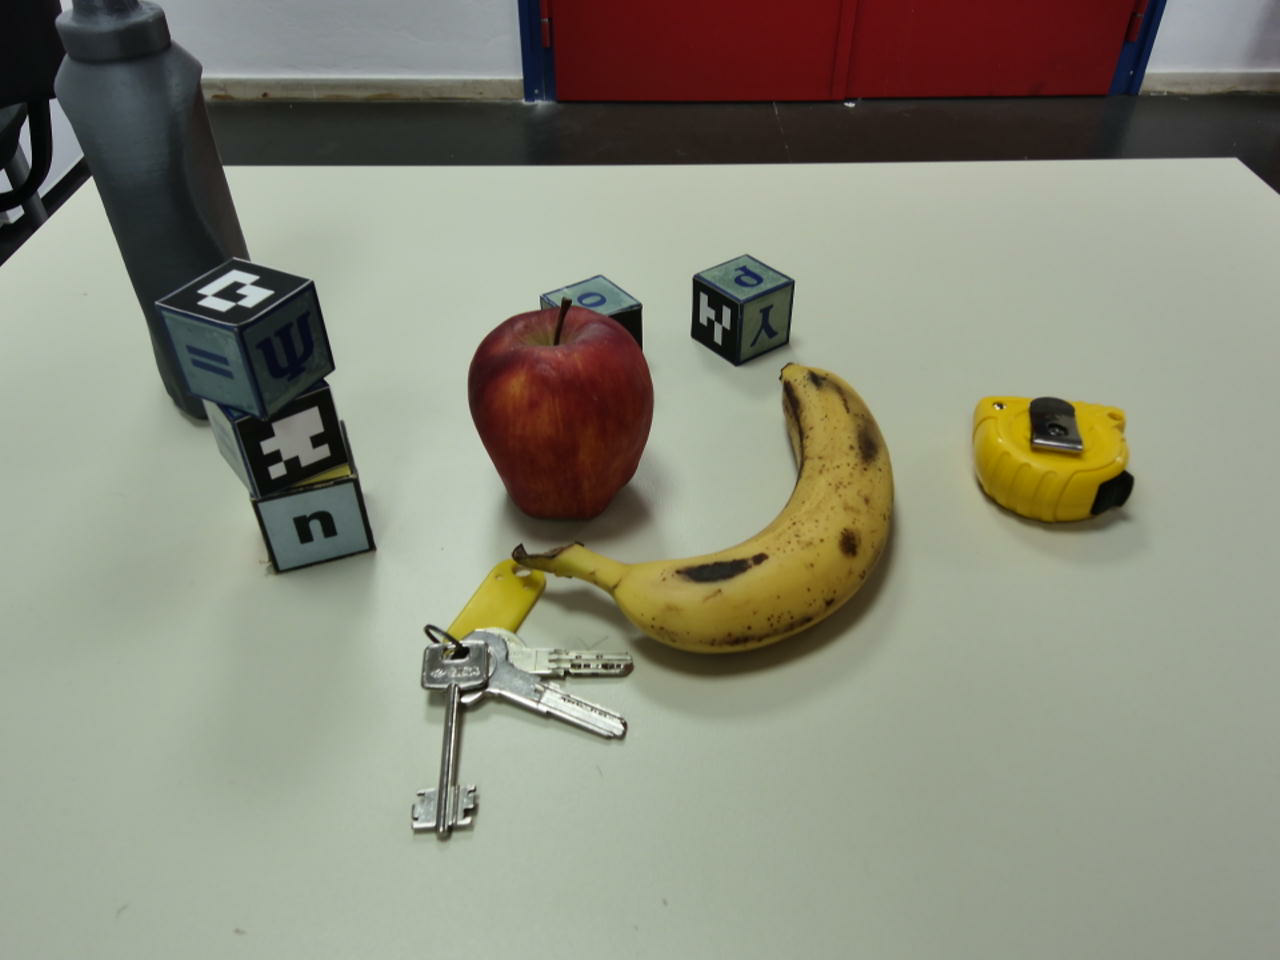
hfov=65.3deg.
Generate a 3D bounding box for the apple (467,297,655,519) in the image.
[{"bbox_3d":[-0.034,-0.034,0.415,0.083,0.090,0.083,0,38,0],"label":"apple"}]
